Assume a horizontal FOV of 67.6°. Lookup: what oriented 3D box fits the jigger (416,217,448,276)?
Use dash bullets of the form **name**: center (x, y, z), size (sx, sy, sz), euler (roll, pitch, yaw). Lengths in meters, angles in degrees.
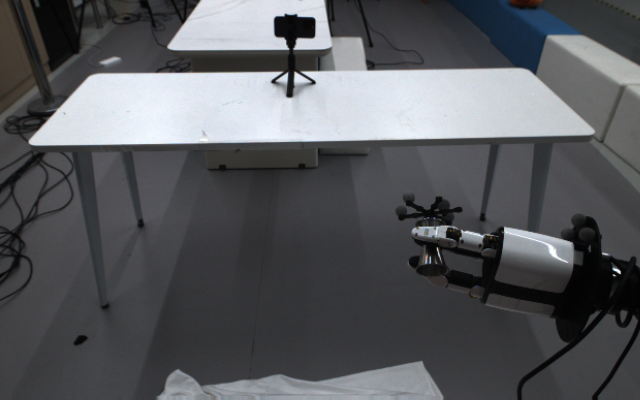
- **jigger**: center (0.147, 0.060, 0.647), size (0.043, 0.043, 0.071), euler (4, 61, 3)
